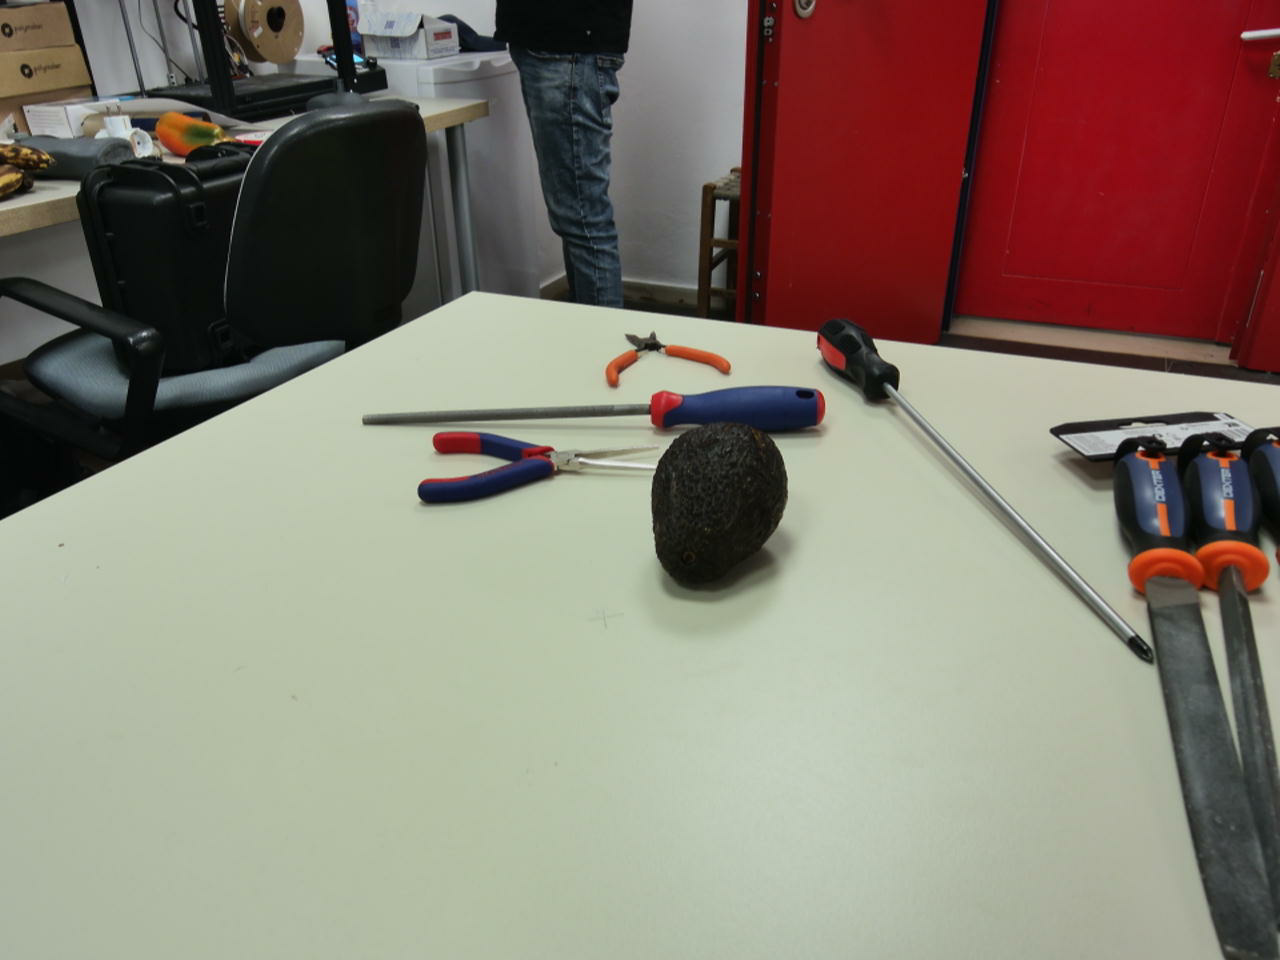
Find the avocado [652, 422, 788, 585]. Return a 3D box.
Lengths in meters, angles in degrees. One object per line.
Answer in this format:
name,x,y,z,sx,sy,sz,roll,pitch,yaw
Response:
avocado,0.038,0.007,0.518,0.090,0.069,0.070,-20,31,-36
